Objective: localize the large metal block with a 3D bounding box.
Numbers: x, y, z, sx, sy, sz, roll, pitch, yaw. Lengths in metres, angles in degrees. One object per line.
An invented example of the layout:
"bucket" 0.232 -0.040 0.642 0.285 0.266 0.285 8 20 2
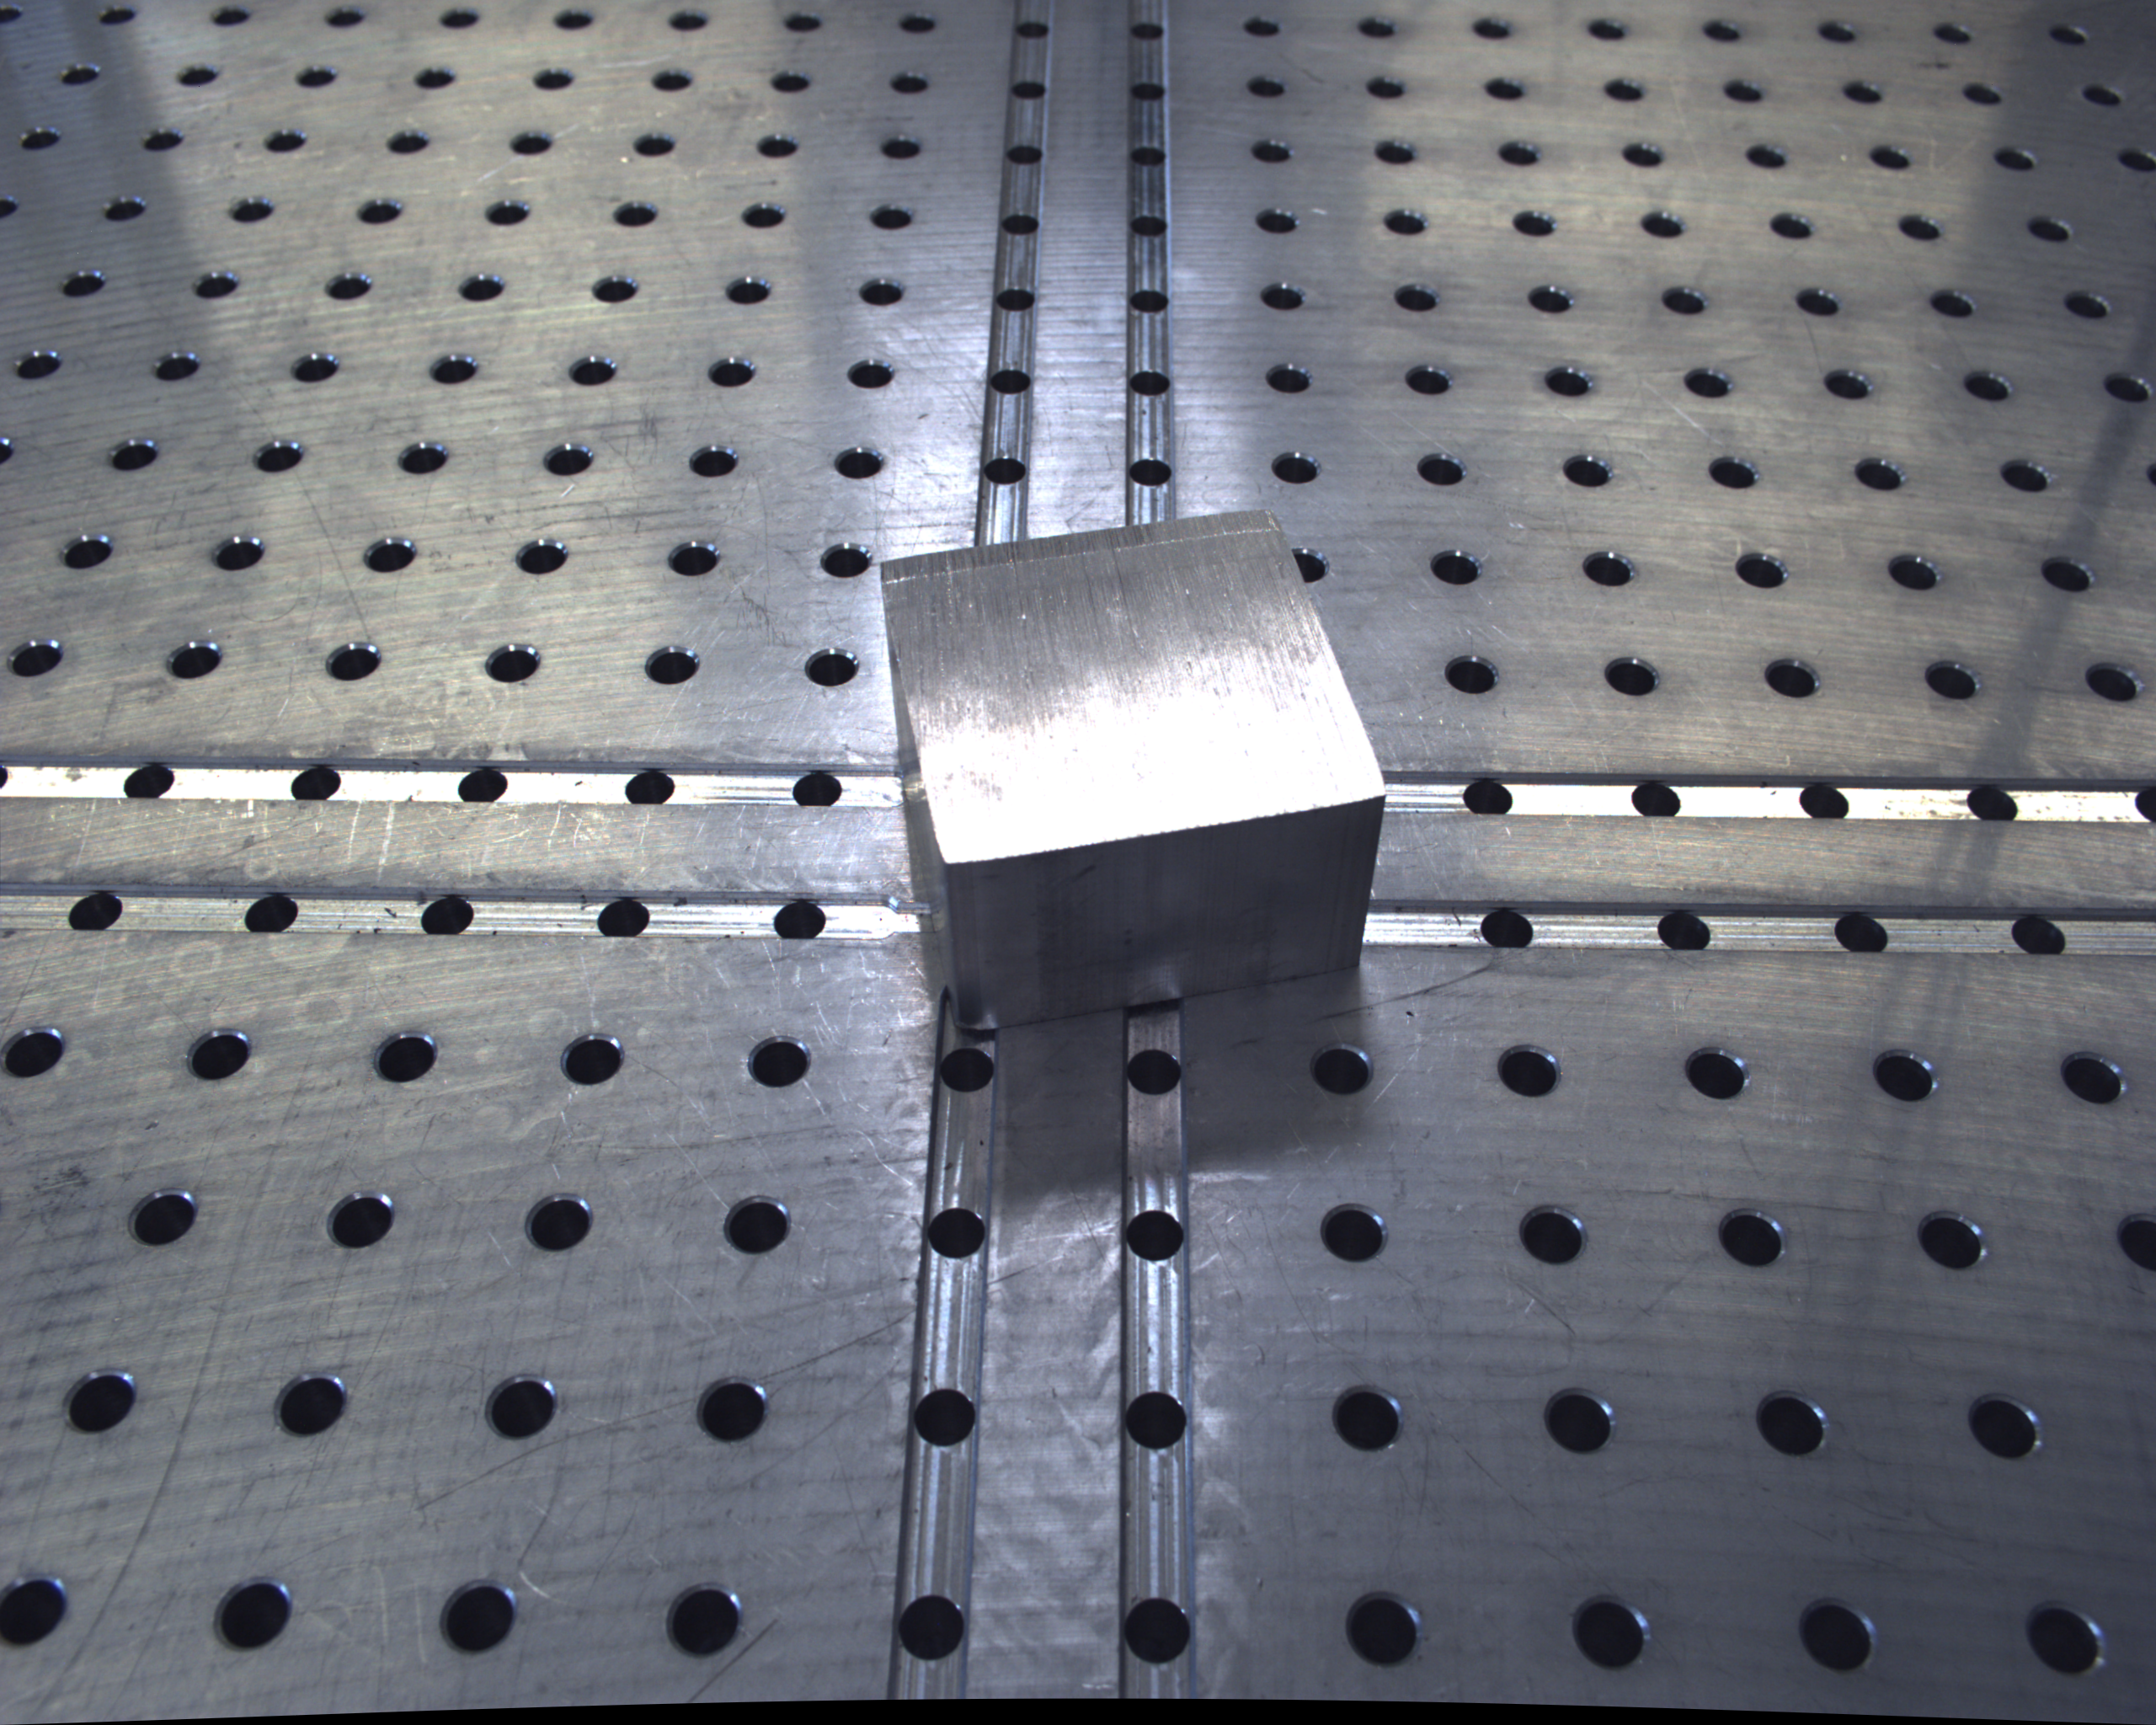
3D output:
"large metal block" 0.008 -0.020 0.407 0.080 0.050 0.080 -9 51 -8
